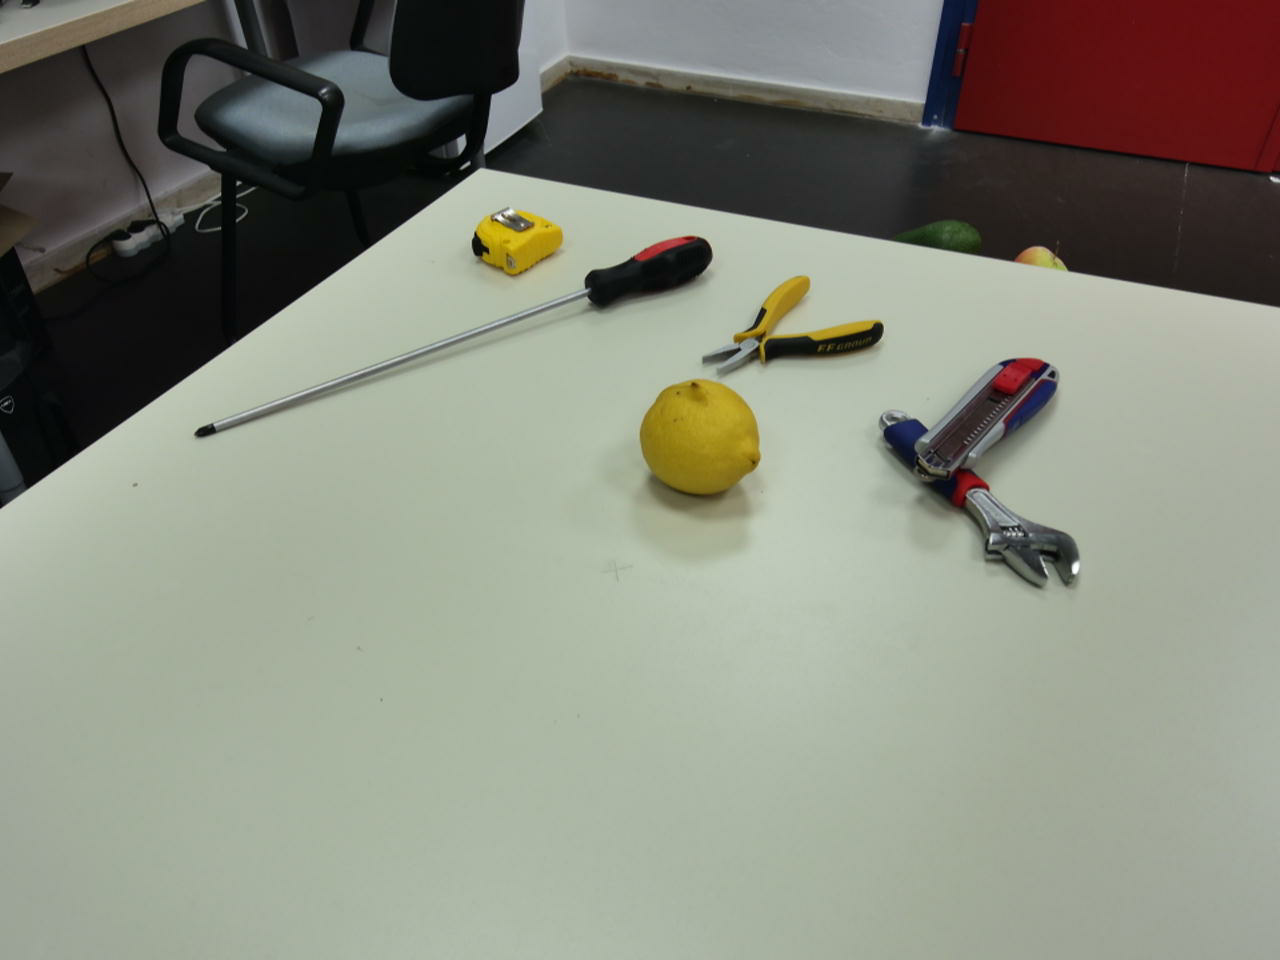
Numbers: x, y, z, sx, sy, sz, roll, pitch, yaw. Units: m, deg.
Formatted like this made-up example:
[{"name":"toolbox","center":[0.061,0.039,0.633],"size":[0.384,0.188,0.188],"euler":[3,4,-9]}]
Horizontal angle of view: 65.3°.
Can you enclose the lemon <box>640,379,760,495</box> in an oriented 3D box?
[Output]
[{"name":"lemon","center":[0.035,-0.028,0.599],"size":[0.070,0.071,0.071],"euler":[-5,39,-7]}]
